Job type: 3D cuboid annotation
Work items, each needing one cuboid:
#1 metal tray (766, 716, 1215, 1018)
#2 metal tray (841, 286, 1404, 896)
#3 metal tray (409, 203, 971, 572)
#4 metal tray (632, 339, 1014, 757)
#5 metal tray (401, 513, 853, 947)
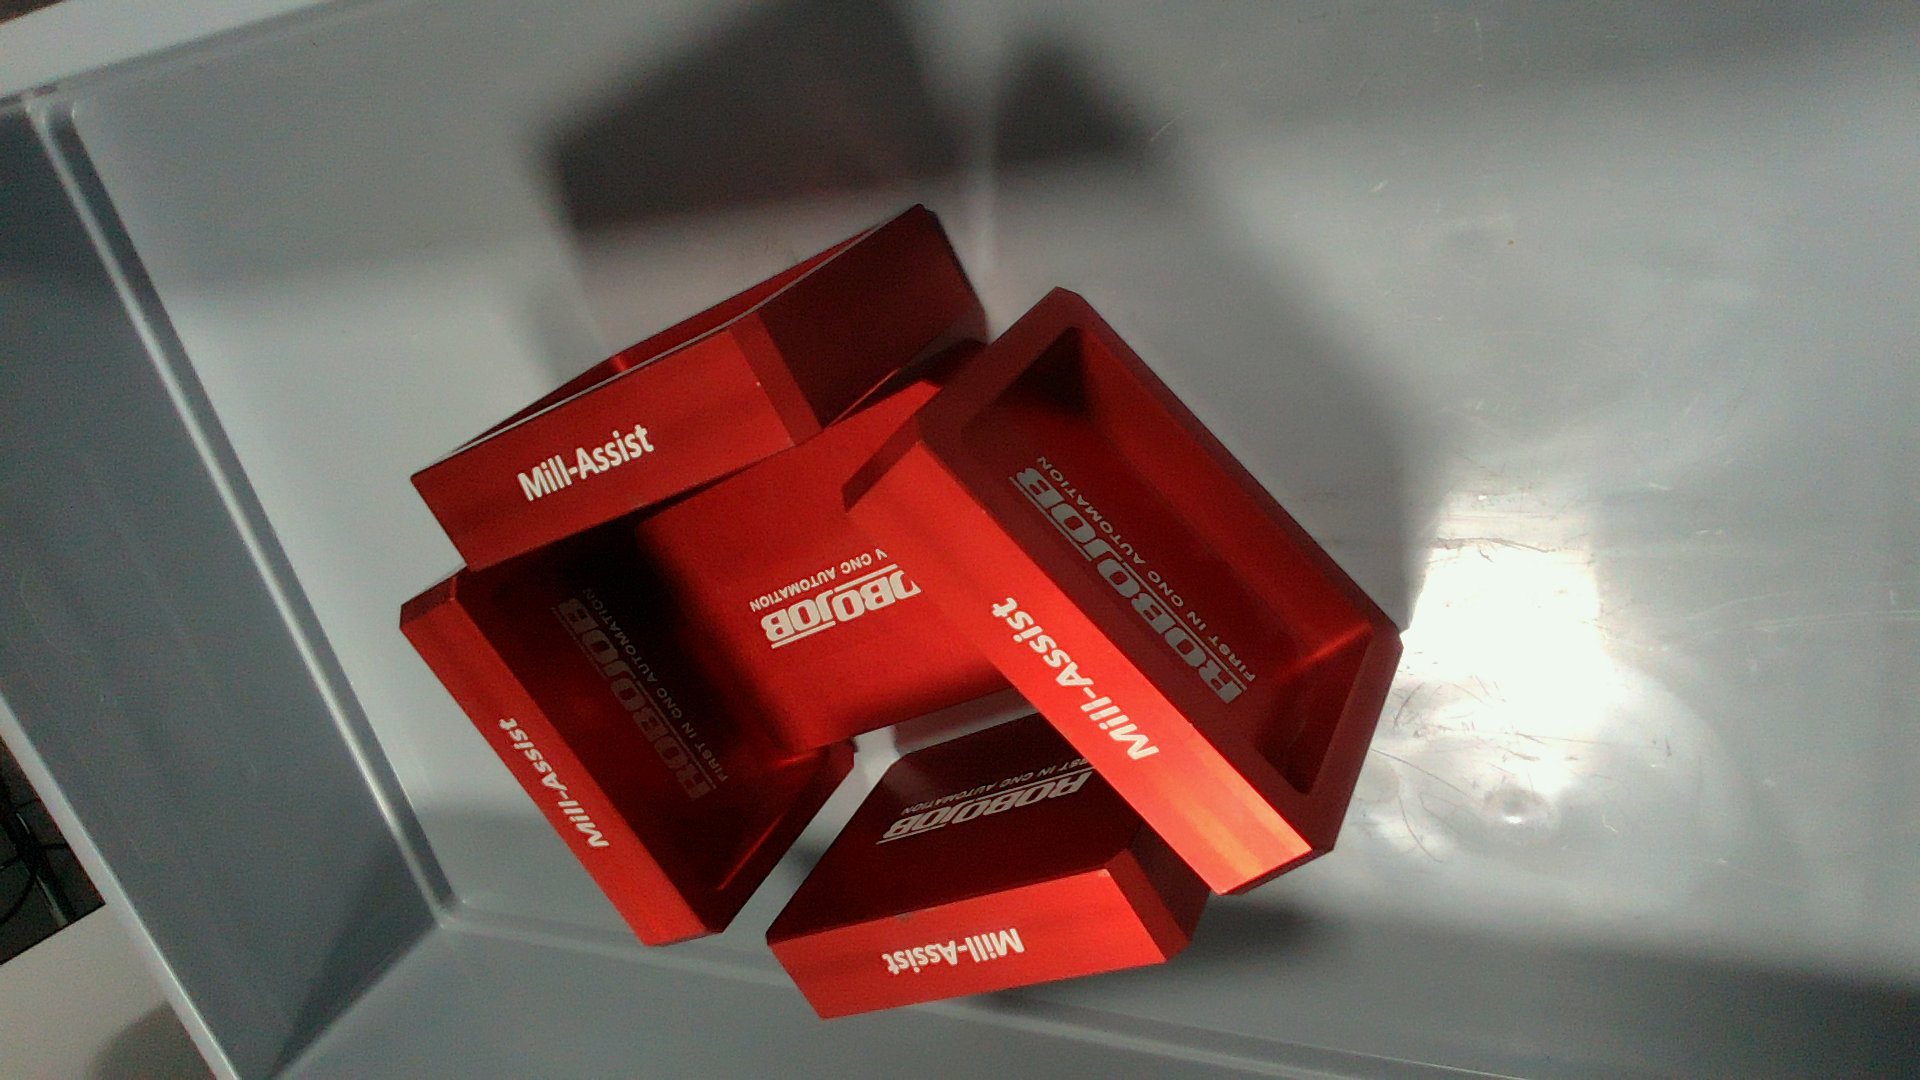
[{"bbox_3d":[0.016,0.087,0.394,0.129,0.090,0.030,-23,106,36],"label":"metal tray"},{"bbox_3d":[0.044,0.008,0.331,0.130,0.090,0.030,45,130,-4],"label":"metal tray"},{"bbox_3d":[-0.071,-0.039,0.363,0.129,0.090,0.030,-17,109,35],"label":"metal tray"},{"bbox_3d":[-0.026,0.008,0.405,0.129,0.030,0.090,-22,107,36],"label":"metal tray"},{"bbox_3d":[-0.098,0.049,0.431,0.030,0.090,0.130,-23,106,37],"label":"metal tray"}]
